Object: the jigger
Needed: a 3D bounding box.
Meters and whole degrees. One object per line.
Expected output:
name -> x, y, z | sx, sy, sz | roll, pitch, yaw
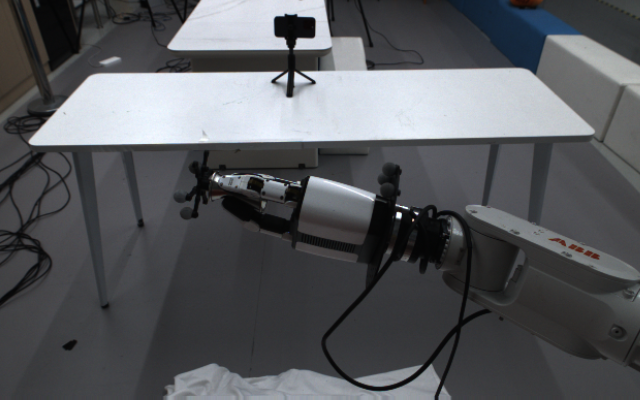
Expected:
jigger -> -0.095, -0.015, 0.612 | 0.071, 0.043, 0.043 | 11, 35, 3
